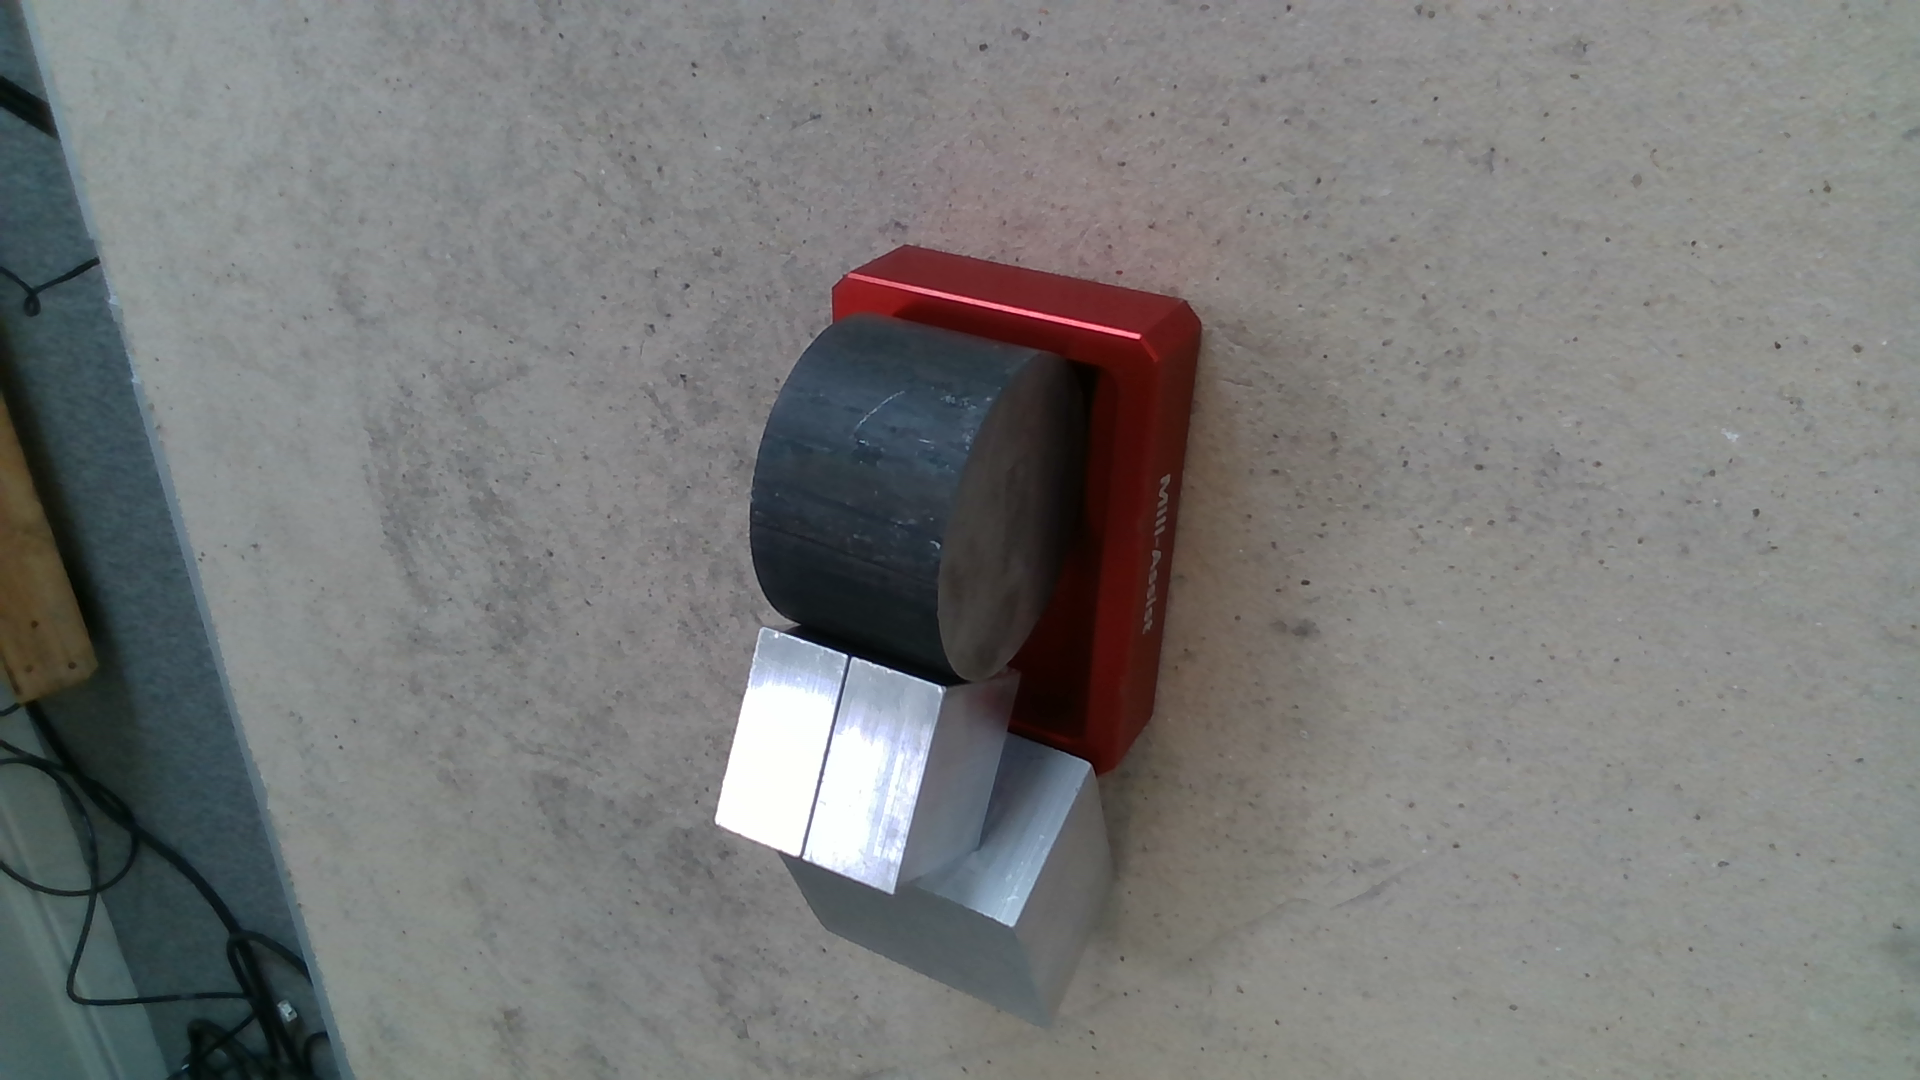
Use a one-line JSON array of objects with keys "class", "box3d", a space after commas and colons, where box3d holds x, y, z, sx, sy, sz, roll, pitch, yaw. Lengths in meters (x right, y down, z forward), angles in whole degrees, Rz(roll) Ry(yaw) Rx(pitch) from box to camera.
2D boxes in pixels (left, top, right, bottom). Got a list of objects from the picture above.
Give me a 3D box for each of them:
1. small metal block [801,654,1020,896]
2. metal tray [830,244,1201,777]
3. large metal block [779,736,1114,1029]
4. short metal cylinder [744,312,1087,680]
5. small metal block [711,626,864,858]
[{"class": "small metal block", "box3d": [-0.011, 0.055, 0.342, 0.025, 0.050, 0.050, 16, 96, 22]}, {"class": "metal tray", "box3d": [0.011, -0.007, 0.375, 0.090, 0.030, 0.130, 16, 123, 24]}, {"class": "large metal block", "box3d": [-0.004, 0.093, 0.407, 0.080, 0.050, 0.080, 17, 149, 23]}, {"class": "short metal cylinder", "box3d": [-0.008, -0.011, 0.336, 0.050, 0.080, 0.080, 15, 122, 24]}, {"class": "small metal block", "box3d": [-0.034, 0.048, 0.352, 0.025, 0.050, 0.050, 16, 96, 22]}]
